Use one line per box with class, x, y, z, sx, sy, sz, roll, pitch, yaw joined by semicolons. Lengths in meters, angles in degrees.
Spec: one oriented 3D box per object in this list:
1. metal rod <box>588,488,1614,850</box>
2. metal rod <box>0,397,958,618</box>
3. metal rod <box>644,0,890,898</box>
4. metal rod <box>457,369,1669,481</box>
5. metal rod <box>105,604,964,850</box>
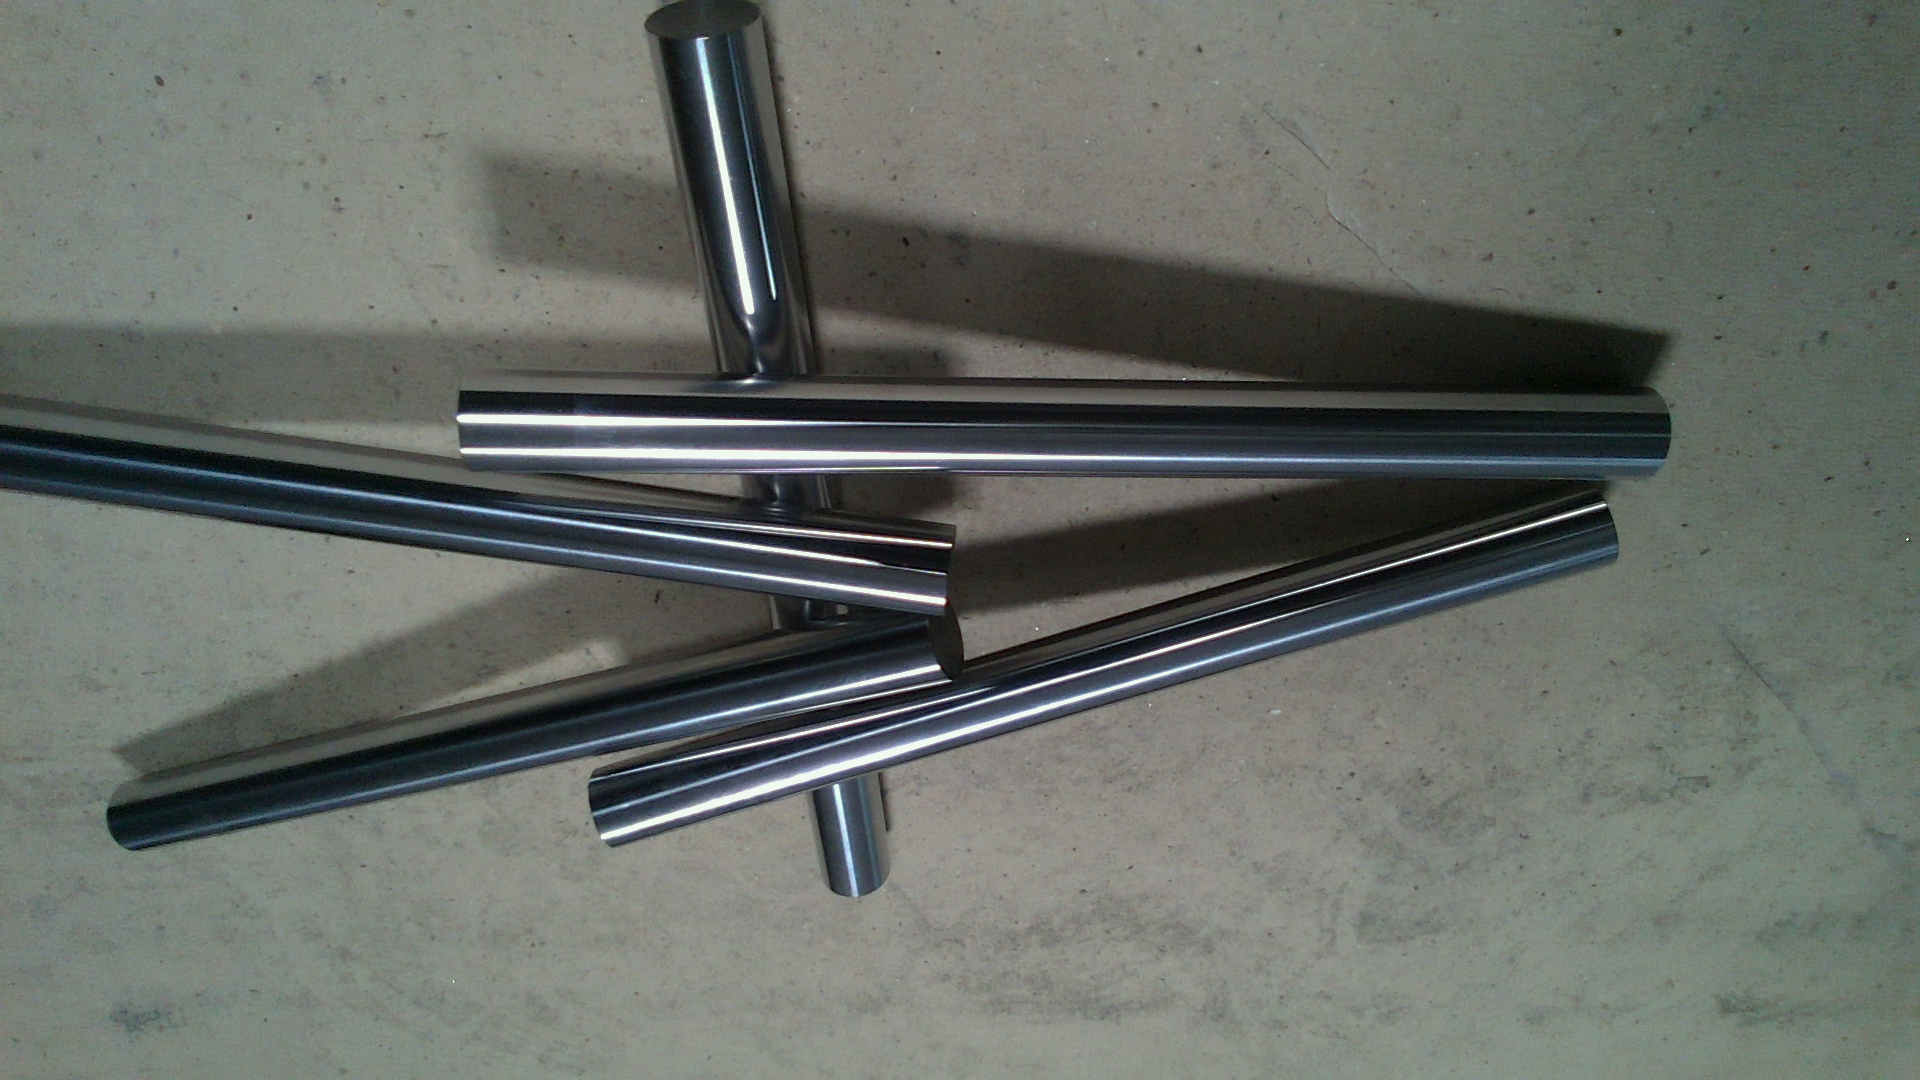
metal rod;0.036;0.038;0.402;0.300;0.025;0.025;-17;128;5
metal rod;-0.151;-0.012;0.362;0.300;0.025;0.025;8;130;1
metal rod;-0.046;0.002;0.392;0.025;0.025;0.300;-3;130;2
metal rod;0.033;-0.028;0.346;0.300;0.025;0.025;0;130;-8
metal rod;-0.142;0.059;0.422;0.299;0.025;0.025;-14;129;18
